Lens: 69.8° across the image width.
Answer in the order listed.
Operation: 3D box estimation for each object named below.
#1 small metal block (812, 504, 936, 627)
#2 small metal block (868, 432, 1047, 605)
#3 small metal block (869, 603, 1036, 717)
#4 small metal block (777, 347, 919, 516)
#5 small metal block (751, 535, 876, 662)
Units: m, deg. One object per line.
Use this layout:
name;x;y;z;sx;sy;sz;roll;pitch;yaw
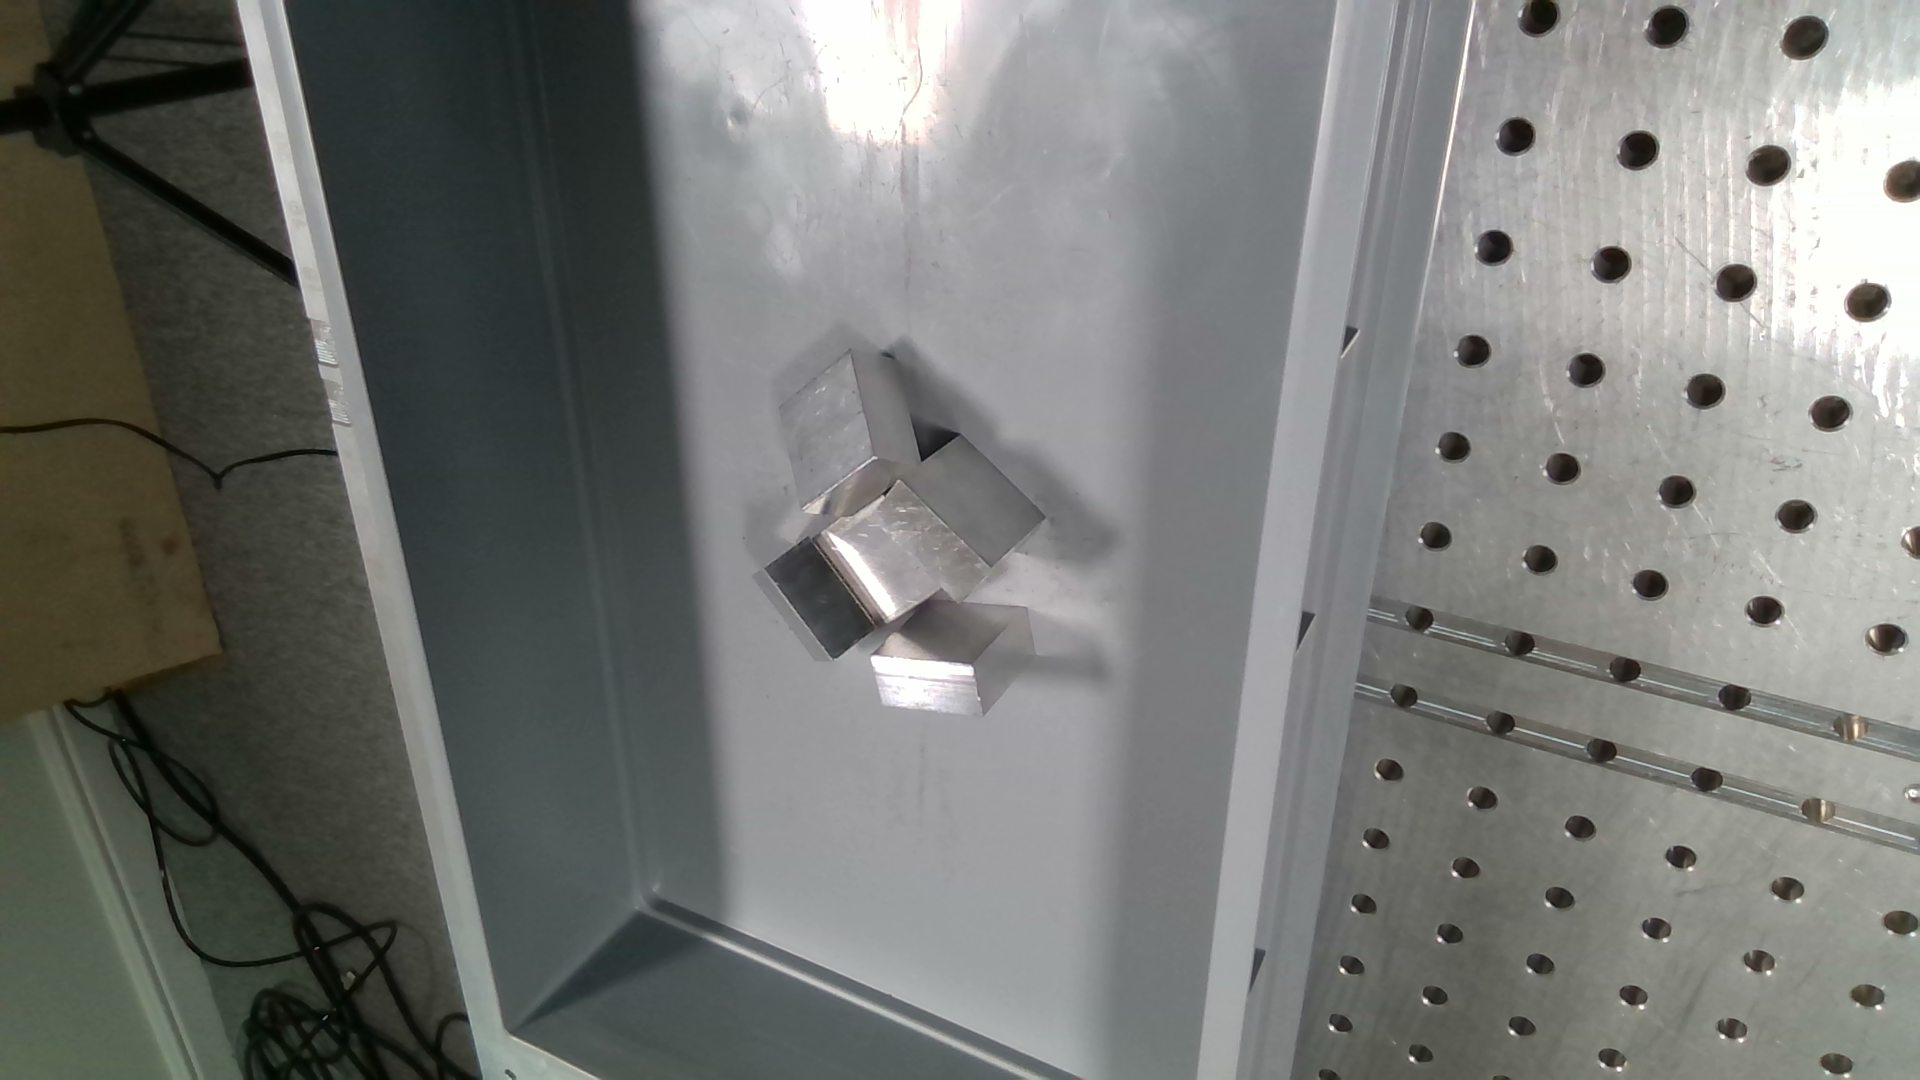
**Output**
small metal block;-0.029;0.003;0.597;0.050;0.025;0.050;-33;95;39
small metal block;0.000;-0.009;0.556;0.050;0.050;0.025;45;129;3
small metal block;-0.003;0.049;0.590;0.050;0.050;0.025;3;117;30
small metal block;-0.046;-0.044;0.568;0.050;0.025;0.050;-32;63;39
small metal block;-0.067;0.027;0.617;0.050;0.025;0.050;54;166;-5
